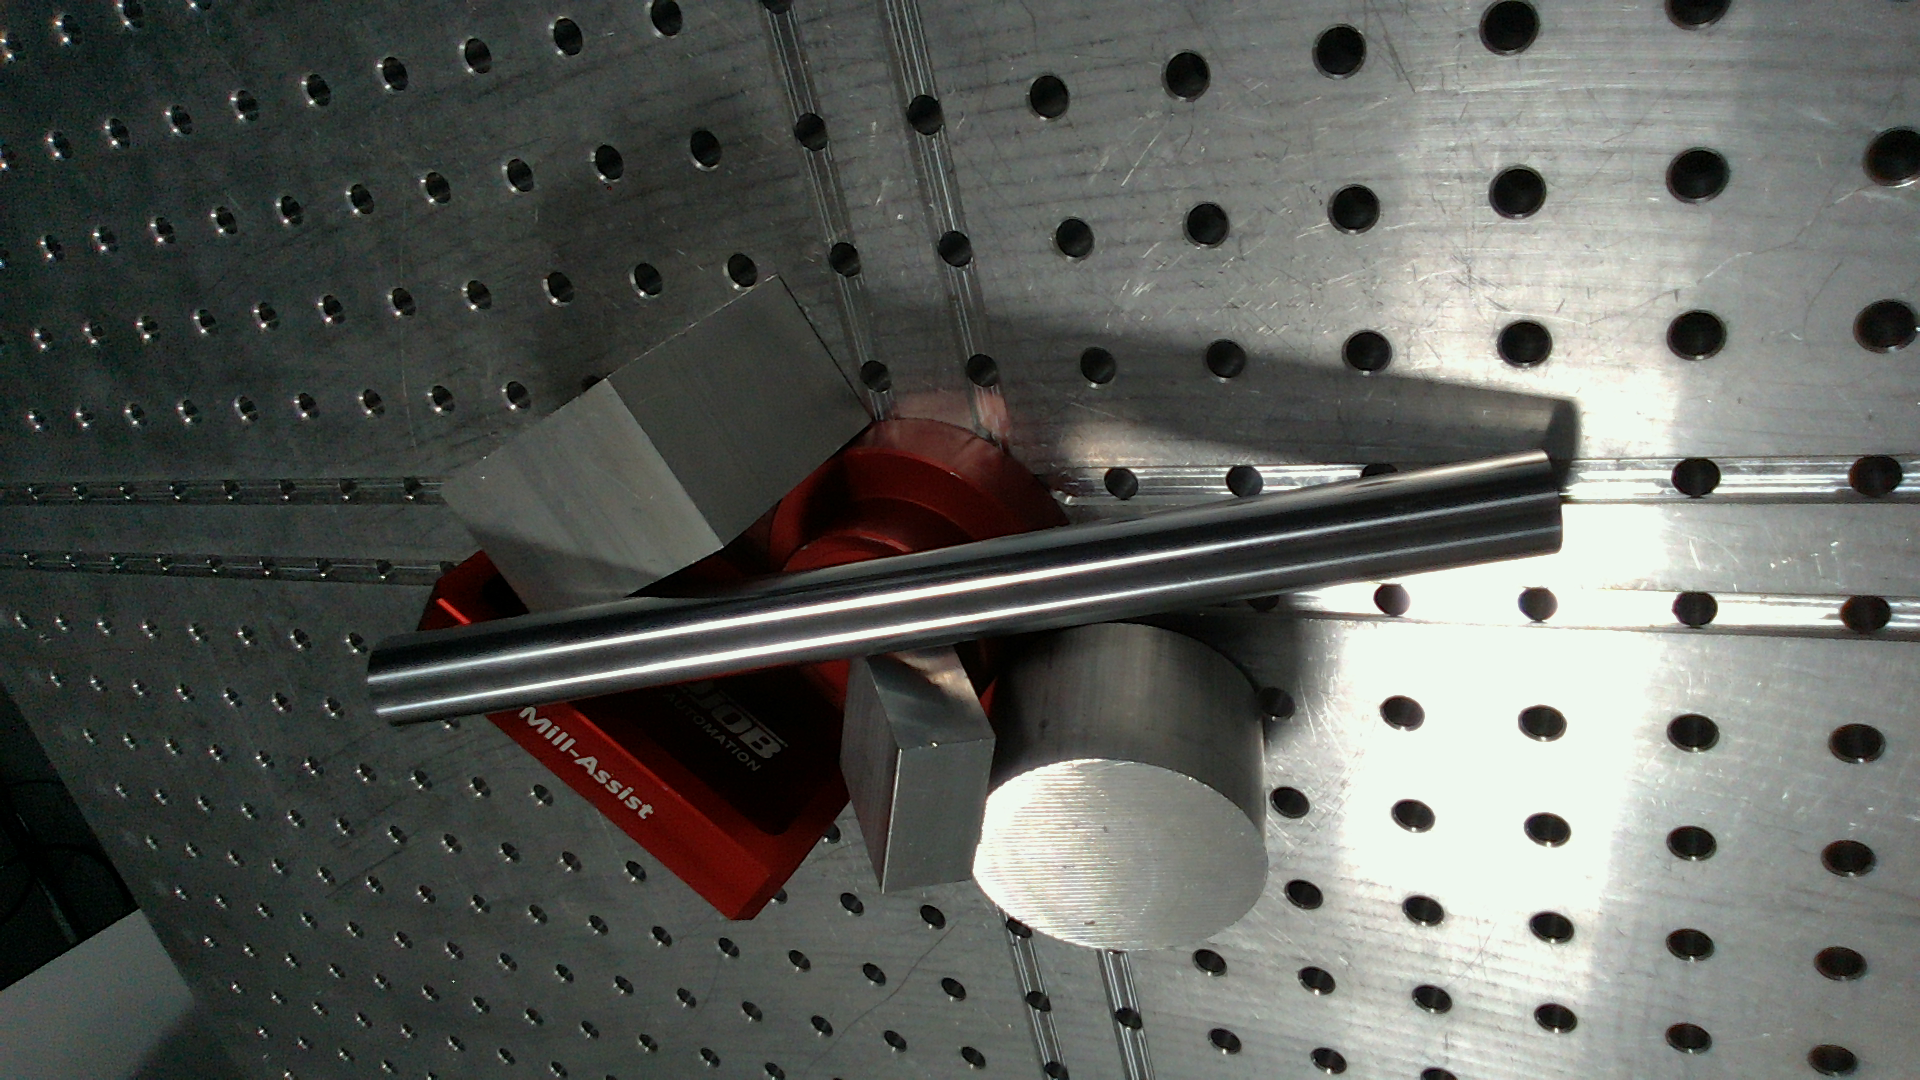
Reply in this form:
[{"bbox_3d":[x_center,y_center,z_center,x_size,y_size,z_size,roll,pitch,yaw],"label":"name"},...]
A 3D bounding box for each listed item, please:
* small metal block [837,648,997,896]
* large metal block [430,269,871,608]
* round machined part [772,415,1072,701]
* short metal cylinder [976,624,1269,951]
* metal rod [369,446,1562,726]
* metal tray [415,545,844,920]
[{"bbox_3d":[-0.013,0.057,0.365,0.025,0.050,0.050,-4,125,-18],"label":"small metal block"},{"bbox_3d":[-0.085,-0.025,0.389,0.080,0.080,0.050,-23,106,37],"label":"large metal block"},{"bbox_3d":[-0.014,0.016,0.406,0.098,0.042,0.098,13,124,21],"label":"round machined part"},{"bbox_3d":[0.044,0.070,0.384,0.080,0.050,0.080,4,130,6],"label":"short metal cylinder"},{"bbox_3d":[-0.009,0.015,0.348,0.299,0.025,0.025,-9,115,11],"label":"metal rod"},{"bbox_3d":[-0.088,0.042,0.426,0.130,0.090,0.030,40,129,1],"label":"metal tray"}]
